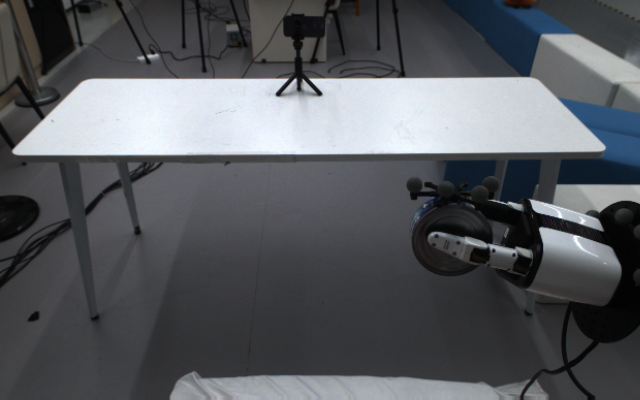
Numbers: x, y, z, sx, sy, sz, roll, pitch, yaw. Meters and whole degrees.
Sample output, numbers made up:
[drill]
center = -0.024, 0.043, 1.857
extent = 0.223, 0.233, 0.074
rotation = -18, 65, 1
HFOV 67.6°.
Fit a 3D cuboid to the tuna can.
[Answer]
[tuna can]
center = 0.146, 0.038, 0.536
extent = 0.085, 0.085, 0.034
rotation = 5, 17, 4
